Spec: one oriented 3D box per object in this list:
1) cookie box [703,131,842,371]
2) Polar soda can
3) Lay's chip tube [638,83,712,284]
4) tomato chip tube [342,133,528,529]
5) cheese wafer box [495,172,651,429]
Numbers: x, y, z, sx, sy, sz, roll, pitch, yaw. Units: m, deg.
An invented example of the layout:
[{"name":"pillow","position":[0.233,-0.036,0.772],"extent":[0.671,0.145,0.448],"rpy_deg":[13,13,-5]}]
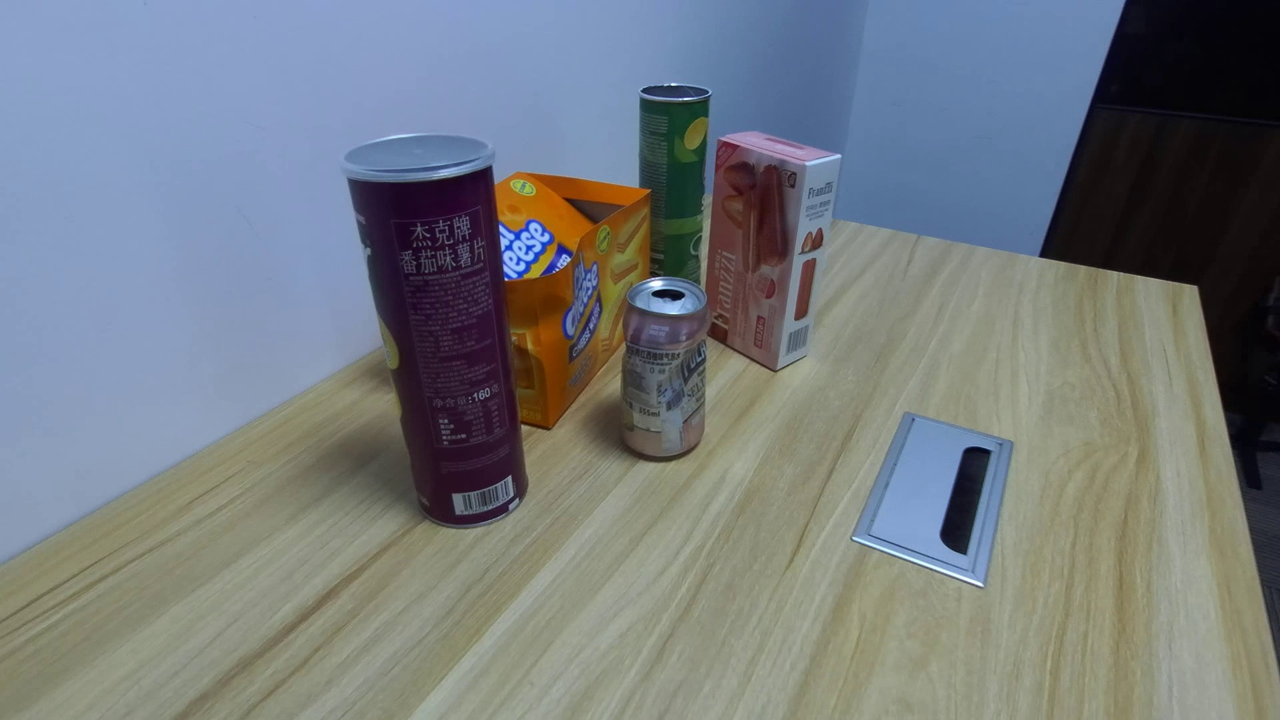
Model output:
[{"name":"cookie box","position":[0.107,-0.093,0.613],"extent":[0.048,0.185,0.095],"rpy_deg":[-24,40,-37]},{"name":"Polar soda can","position":[0.020,0.008,0.513],"extent":[0.074,0.122,0.067],"rpy_deg":[-15,34,-22]},{"name":"Lay's chip tube","position":[0.032,-0.169,0.717],"extent":[0.071,0.203,0.071],"rpy_deg":[1,32,0]},{"name":"tomato chip tube","position":[-0.115,-0.009,0.431],"extent":[0.078,0.234,0.078],"rpy_deg":[0,32,0]},{"name":"cheese wafer box","position":[-0.093,-0.060,0.617],"extent":[0.152,0.132,0.231],"rpy_deg":[13,34,17]}]
